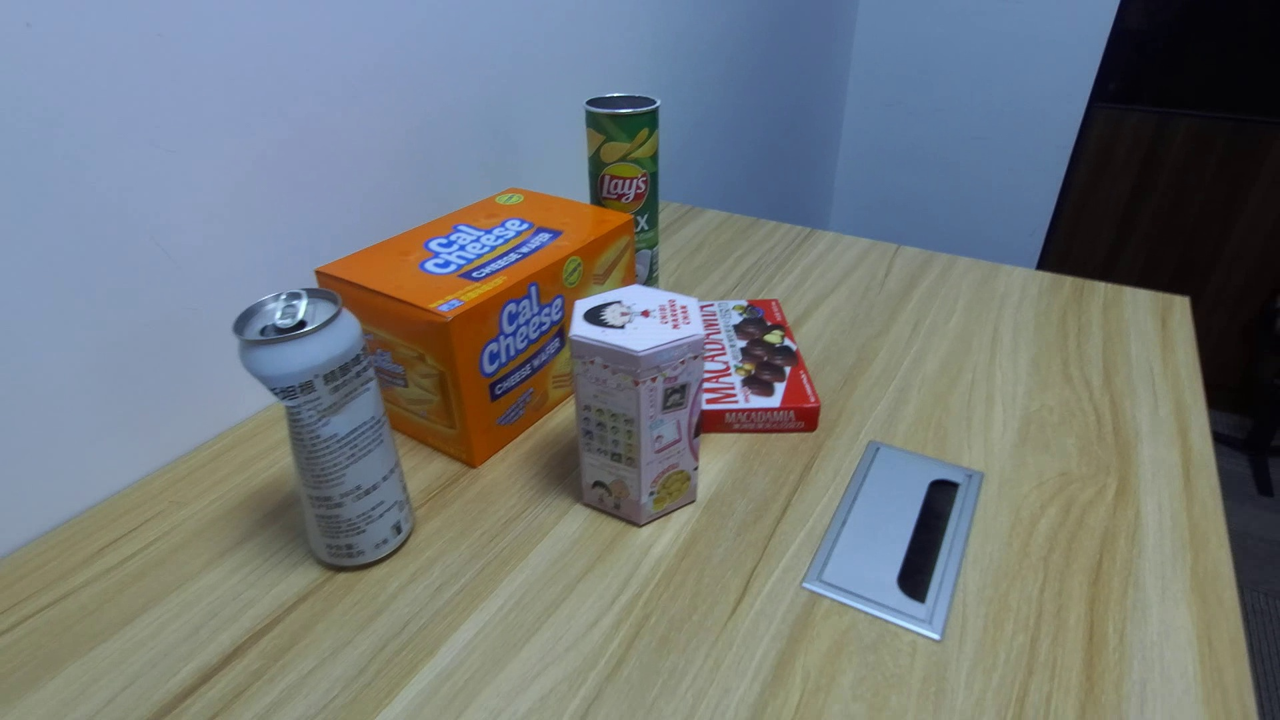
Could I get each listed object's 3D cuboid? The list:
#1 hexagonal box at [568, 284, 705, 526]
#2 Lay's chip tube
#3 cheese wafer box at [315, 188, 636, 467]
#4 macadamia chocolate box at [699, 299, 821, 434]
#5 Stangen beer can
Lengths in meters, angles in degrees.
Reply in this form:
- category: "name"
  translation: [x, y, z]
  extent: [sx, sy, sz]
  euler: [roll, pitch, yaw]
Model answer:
- category: "hexagonal box"
  translation: [0.001, 0.030, 0.464]
  extent: [0.084, 0.136, 0.091]
  euler: [-2, 32, -1]
- category: "Lay's chip tube"
  translation: [-0.014, -0.148, 0.688]
  extent: [0.071, 0.203, 0.071]
  euler: [-1, 32, 1]
- category: "cheese wafer box"
  translation: [-0.121, -0.040, 0.594]
  extent: [0.147, 0.129, 0.222]
  euler: [19, 37, 28]
- category: "macadamia chocolate box"
  translation: [0.090, 0.000, 0.615]
  extent: [0.095, 0.027, 0.177]
  euler: [-2, 32, 0]
- category: "Stangen beer can"
  translation: [-0.184, 0.044, 0.415]
  extent: [0.069, 0.173, 0.070]
  euler: [5, 32, 14]
